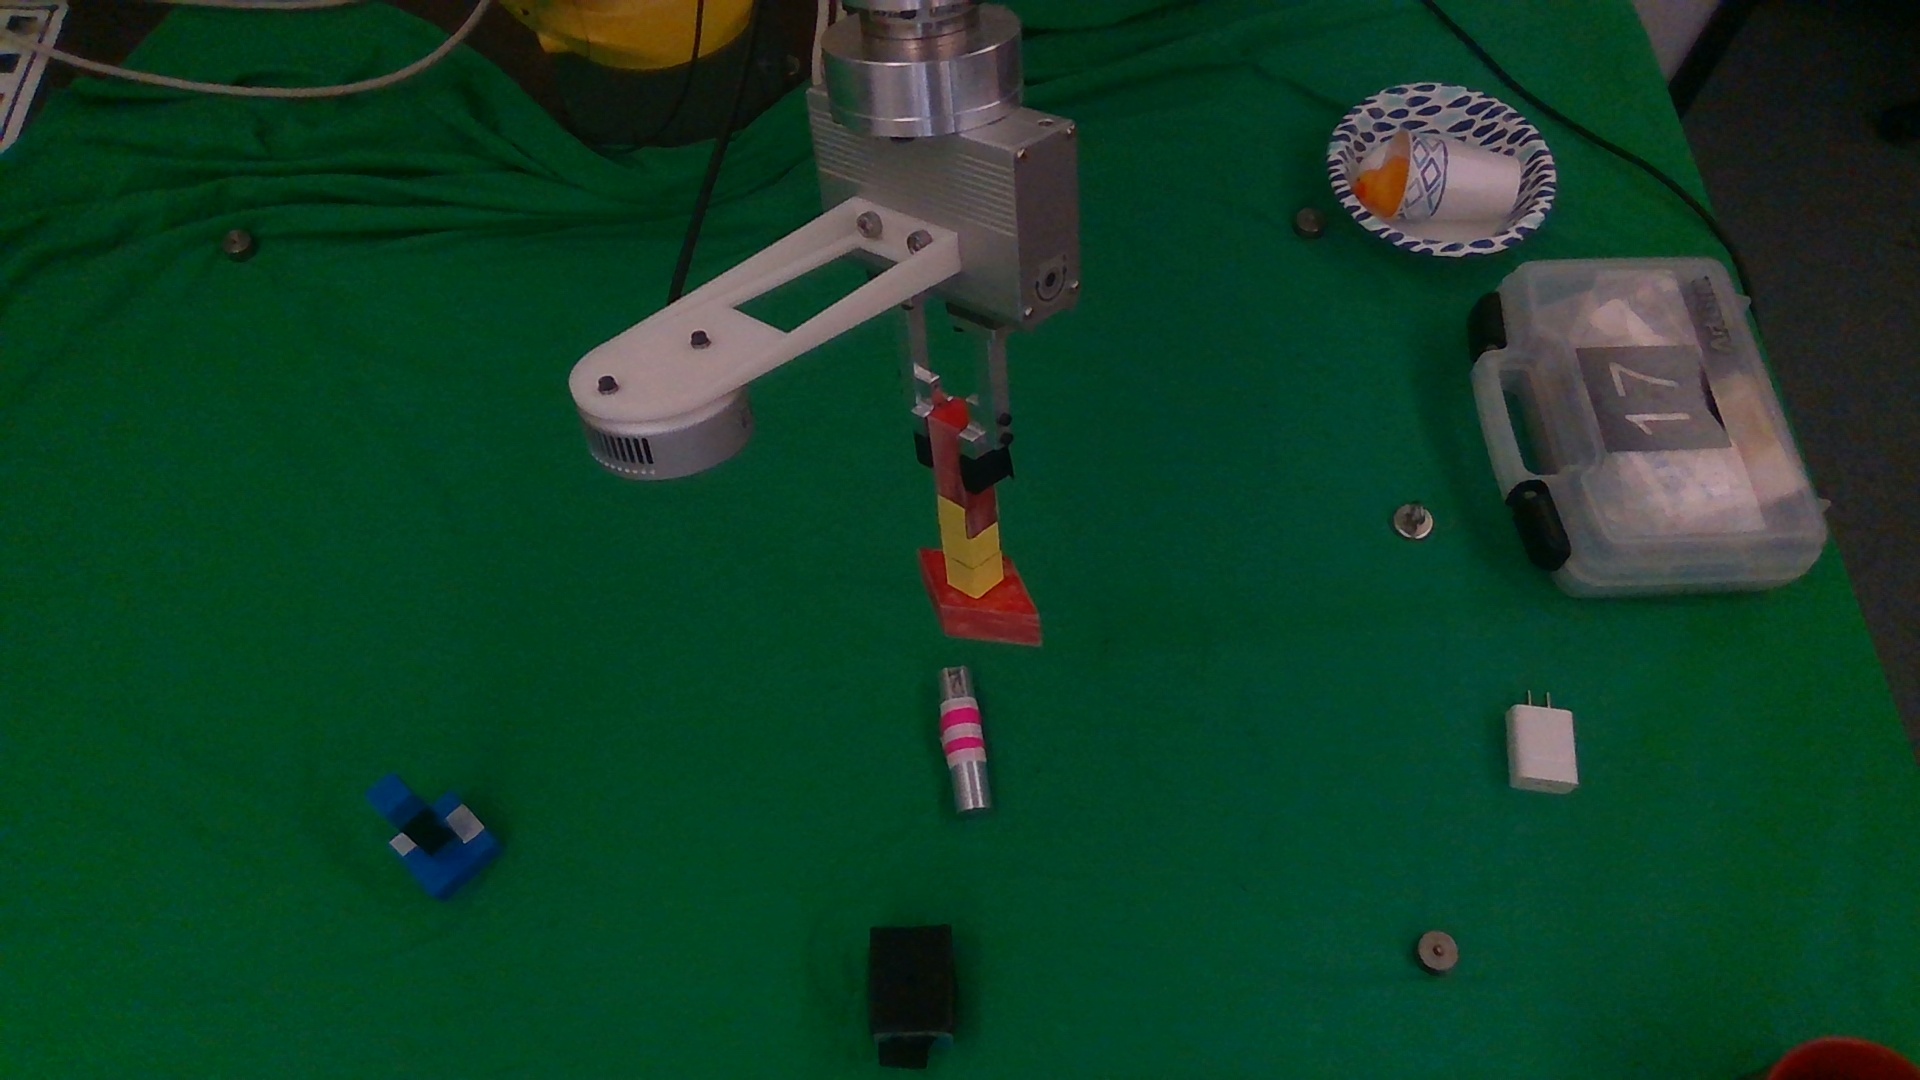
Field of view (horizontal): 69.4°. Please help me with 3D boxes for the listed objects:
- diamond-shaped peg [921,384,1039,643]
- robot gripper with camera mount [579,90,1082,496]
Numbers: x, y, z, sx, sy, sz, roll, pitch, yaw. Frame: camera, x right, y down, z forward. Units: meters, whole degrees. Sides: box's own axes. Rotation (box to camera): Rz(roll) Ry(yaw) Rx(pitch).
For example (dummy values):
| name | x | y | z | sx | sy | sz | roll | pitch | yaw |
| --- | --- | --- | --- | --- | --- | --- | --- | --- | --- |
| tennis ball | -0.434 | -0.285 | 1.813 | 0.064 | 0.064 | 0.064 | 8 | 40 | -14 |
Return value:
| name | x | y | z | sx | sy | sz | roll | pitch | yaw |
| --- | --- | --- | --- | --- | --- | --- | --- | --- | --- |
| diamond-shaped peg | 0.006 | -0.014 | 0.658 | 0.074 | 0.122 | 0.045 | 8 | 37 | 17 |
| robot gripper with camera mount | -0.054 | -0.058 | 0.550 | 0.119 | 0.158 | 0.193 | 24 | 48 | 34 |
